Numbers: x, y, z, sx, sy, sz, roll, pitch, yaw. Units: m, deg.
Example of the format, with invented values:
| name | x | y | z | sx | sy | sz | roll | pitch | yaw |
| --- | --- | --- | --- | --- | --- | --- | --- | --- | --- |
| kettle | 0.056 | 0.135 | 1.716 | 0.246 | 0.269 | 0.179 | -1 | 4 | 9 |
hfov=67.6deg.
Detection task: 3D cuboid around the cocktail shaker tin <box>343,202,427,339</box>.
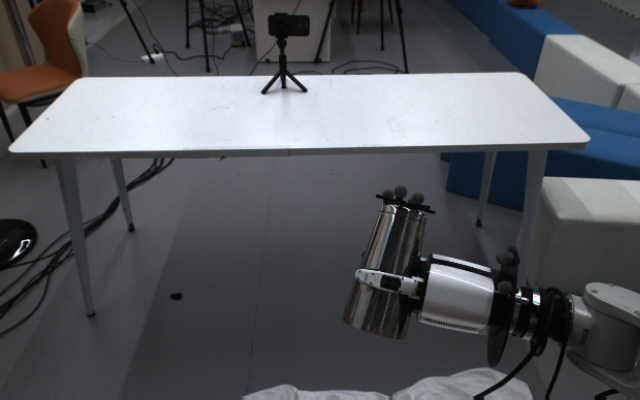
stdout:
| name | x | y | z | sx | sy | sz | roll | pitch | yaw |
| --- | --- | --- | --- | --- | --- | --- | --- | --- | --- |
| cocktail shaker tin | 0.098 | 0.096 | 0.676 | 0.093 | 0.170 | 0.093 | 15 | -4 | 1 |
